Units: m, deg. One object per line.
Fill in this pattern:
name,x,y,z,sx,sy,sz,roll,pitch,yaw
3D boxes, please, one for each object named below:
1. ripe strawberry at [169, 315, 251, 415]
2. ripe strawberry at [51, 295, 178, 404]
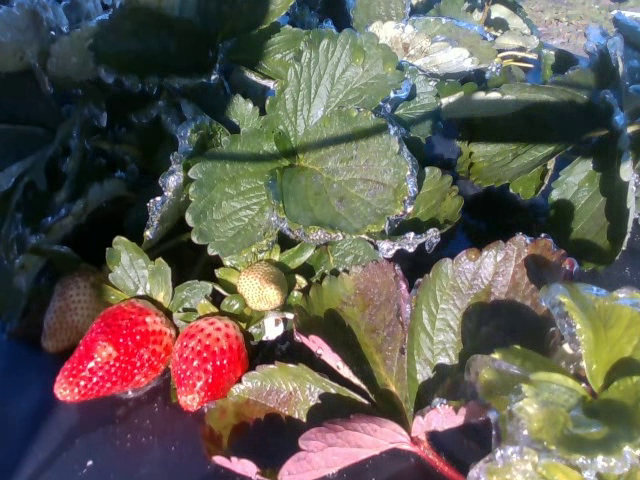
ripe strawberry,-0.044,0.049,0.227,0.036,0.041,0.030,-27,-49,23
ripe strawberry,-0.083,0.049,0.234,0.036,0.040,0.051,-4,21,37
